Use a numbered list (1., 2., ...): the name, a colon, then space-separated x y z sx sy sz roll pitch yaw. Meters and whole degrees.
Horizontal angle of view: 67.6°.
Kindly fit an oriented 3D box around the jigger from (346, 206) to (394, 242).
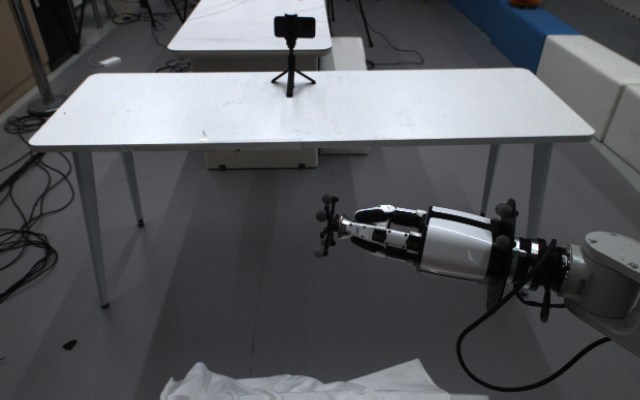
1. jigger: 0.070 0.040 0.693 0.071 0.043 0.043 6 35 15
